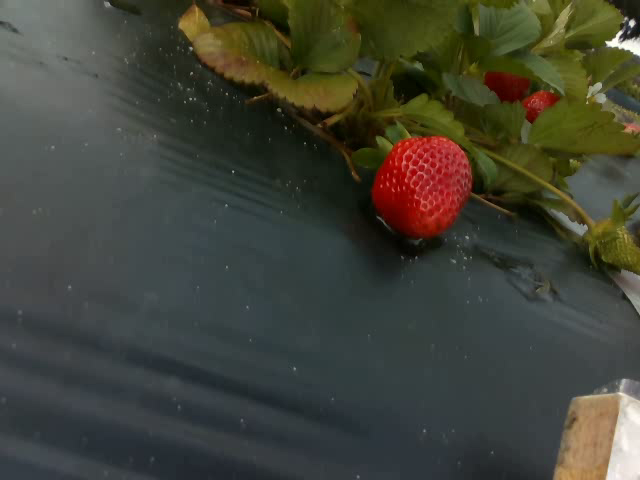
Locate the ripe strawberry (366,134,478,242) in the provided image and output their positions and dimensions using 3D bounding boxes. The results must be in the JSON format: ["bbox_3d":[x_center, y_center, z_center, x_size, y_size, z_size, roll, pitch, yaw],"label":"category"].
[{"bbox_3d":[0.035,-0.016,0.191,0.036,0.040,0.046,7,23,-1],"label":"ripe strawberry"}]
